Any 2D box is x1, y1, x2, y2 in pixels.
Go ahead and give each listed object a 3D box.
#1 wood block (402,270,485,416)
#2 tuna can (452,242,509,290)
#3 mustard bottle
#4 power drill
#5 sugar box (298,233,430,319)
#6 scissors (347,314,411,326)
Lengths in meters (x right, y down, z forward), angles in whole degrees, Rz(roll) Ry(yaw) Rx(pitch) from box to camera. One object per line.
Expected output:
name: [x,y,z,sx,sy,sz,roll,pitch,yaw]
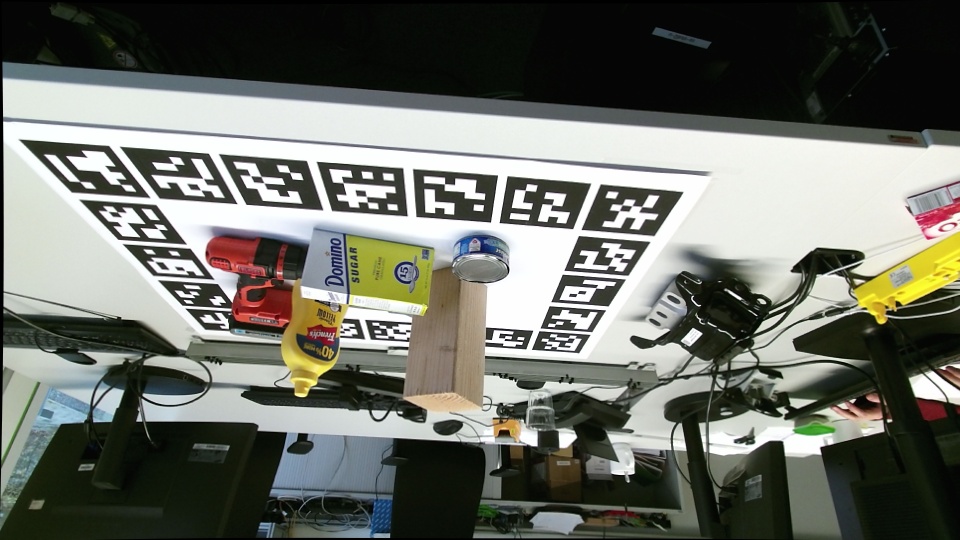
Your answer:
wood block: [-0.052,0.112,0.842,0.091,0.205,0.090,-13,143,21]
tuna can: [0.000,-0.004,0.792,0.086,0.033,0.086,2,146,1]
mustard bottle: [-0.274,0.113,0.866,0.058,0.190,0.096,-21,140,30]
power drill: [-0.316,0.033,0.853,0.185,0.057,0.187,11,139,-14]
sugar box: [-0.167,0.009,0.778,0.177,0.092,0.045,12,149,-12]
scissors: [-0.137,0.090,0.967,0.203,0.016,0.088,5,151,-5]
